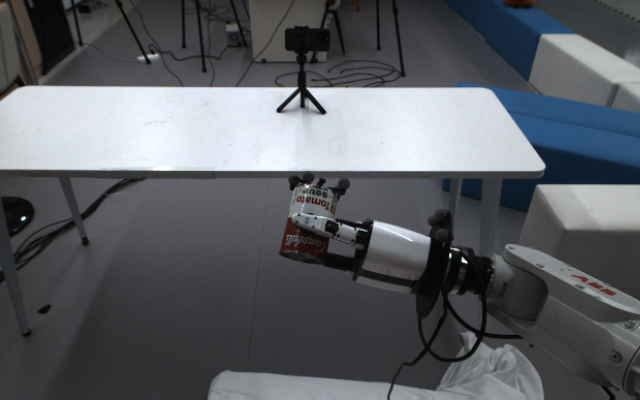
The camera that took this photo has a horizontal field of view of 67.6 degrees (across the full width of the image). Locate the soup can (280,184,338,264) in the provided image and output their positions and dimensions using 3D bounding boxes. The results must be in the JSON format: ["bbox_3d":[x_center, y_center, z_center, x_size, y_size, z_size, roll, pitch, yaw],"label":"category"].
[{"bbox_3d":[-0.014,0.035,0.696,0.067,0.067,0.101,9,74,9],"label":"soup can"}]
